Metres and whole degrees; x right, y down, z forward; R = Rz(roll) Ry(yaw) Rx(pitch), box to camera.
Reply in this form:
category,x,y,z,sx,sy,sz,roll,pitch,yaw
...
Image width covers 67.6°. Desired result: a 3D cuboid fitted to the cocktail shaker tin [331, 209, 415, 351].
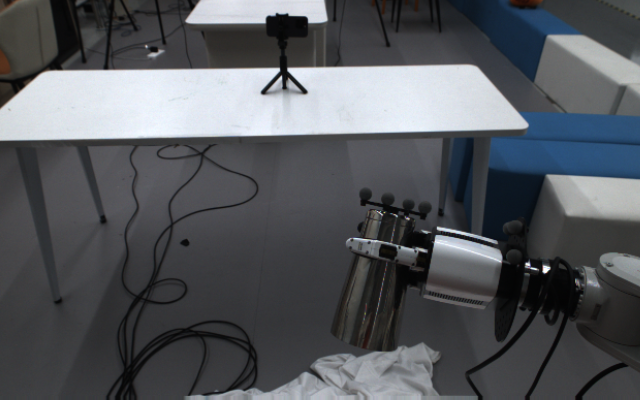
category,x,y,z,sx,sy,sz,roll,pitch,yaw
cocktail shaker tin,0.081,0.099,0.646,0.093,0.170,0.093,13,1,0
